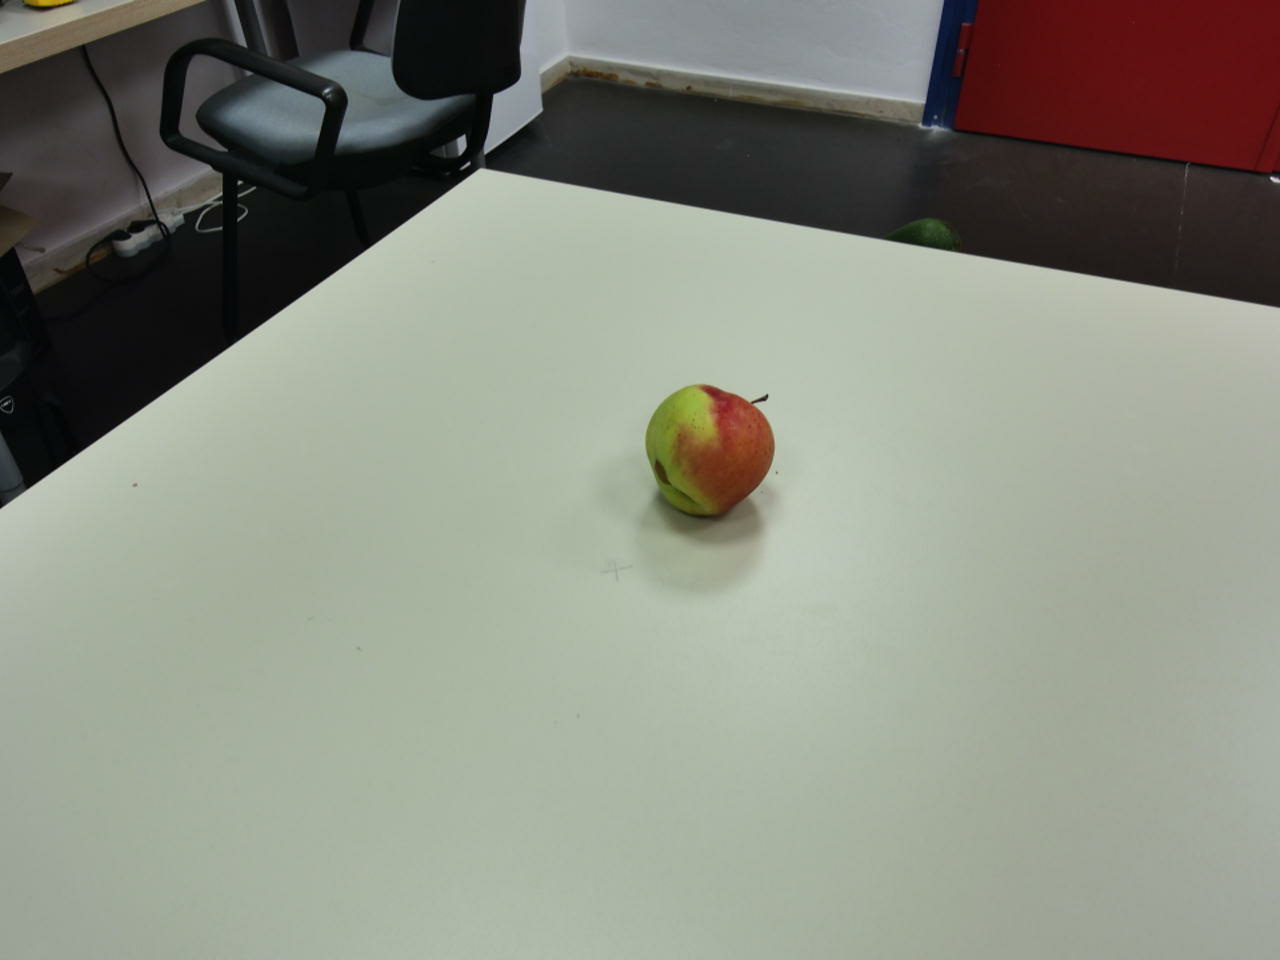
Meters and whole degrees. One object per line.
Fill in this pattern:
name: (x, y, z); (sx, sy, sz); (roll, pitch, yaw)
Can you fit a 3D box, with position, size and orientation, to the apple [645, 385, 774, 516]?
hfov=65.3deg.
apple: (0.040, -0.018, 0.589); (0.075, 0.074, 0.075); (2, 38, 4)
